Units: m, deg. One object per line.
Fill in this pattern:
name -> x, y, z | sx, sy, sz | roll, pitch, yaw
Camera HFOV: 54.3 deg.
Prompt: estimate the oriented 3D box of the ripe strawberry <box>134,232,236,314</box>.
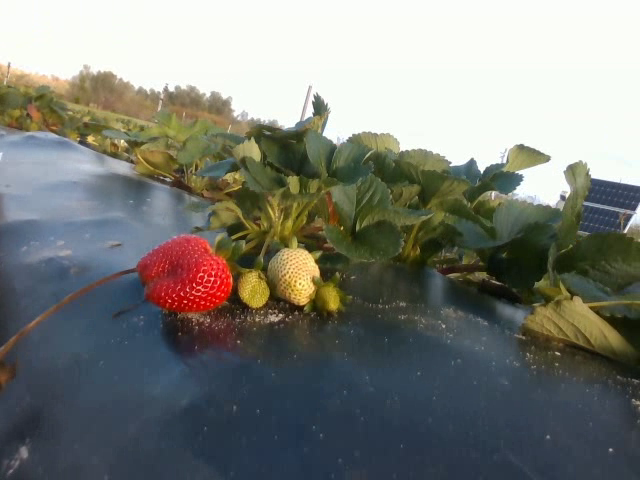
ripe strawberry -> -0.077, 0.013, 0.337 | 0.050, 0.035, 0.047 | -23, 28, -34
